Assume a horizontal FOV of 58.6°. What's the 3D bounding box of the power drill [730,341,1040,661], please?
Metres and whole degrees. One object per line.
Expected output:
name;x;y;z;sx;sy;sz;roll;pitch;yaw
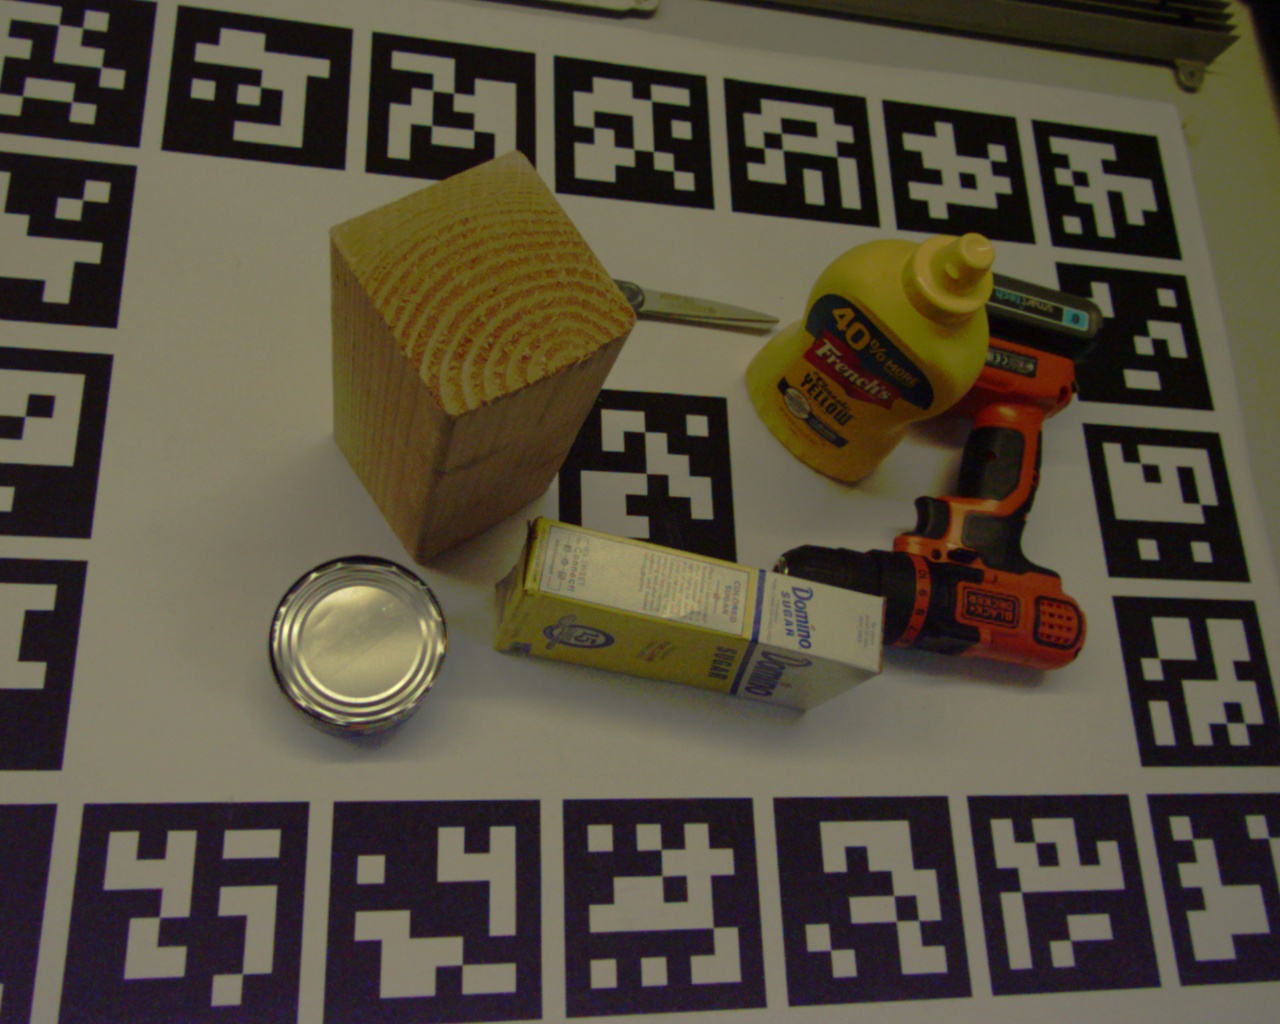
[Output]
power drill;0.156;-0.016;0.678;0.184;0.057;0.187;15;77;-8

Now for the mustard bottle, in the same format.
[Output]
mustard bottle;0.123;-0.083;0.628;0.058;0.192;0.096;-39;87;-21

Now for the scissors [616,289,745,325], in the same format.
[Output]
scissors;-0.033;-0.126;0.690;0.201;0.016;0.088;4;68;-12

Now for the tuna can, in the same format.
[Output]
tuna can;-0.142;0.065;0.592;0.085;0.034;0.086;4;73;-13

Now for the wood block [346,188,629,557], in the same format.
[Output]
wood block;-0.087;-0.058;0.564;0.090;0.207;0.090;-27;83;-20

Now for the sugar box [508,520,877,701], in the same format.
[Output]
sugar box;0.025;0.057;0.607;0.175;0.093;0.045;15;67;-11
